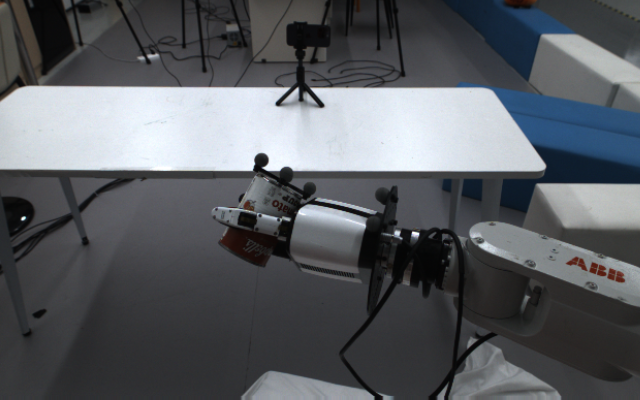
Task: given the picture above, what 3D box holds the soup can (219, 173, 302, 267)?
[{"bbox_3d":[-0.074,0.026,0.612,0.067,0.101,0.067,29,-2,1],"label":"soup can"}]
